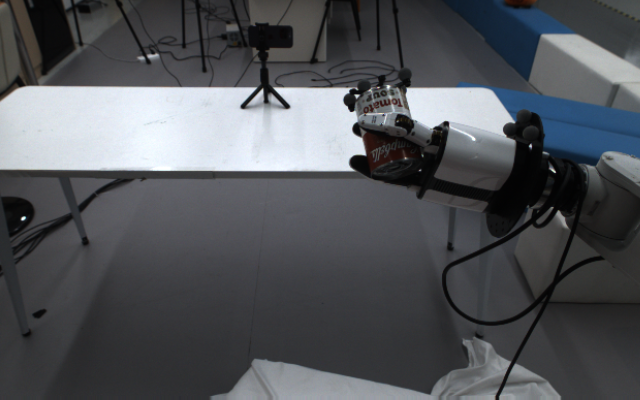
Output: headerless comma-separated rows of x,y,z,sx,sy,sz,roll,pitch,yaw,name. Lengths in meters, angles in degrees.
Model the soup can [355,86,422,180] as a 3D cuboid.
0.087,-0.085,0.611,0.067,0.067,0.101,-8,74,-14,soup can
